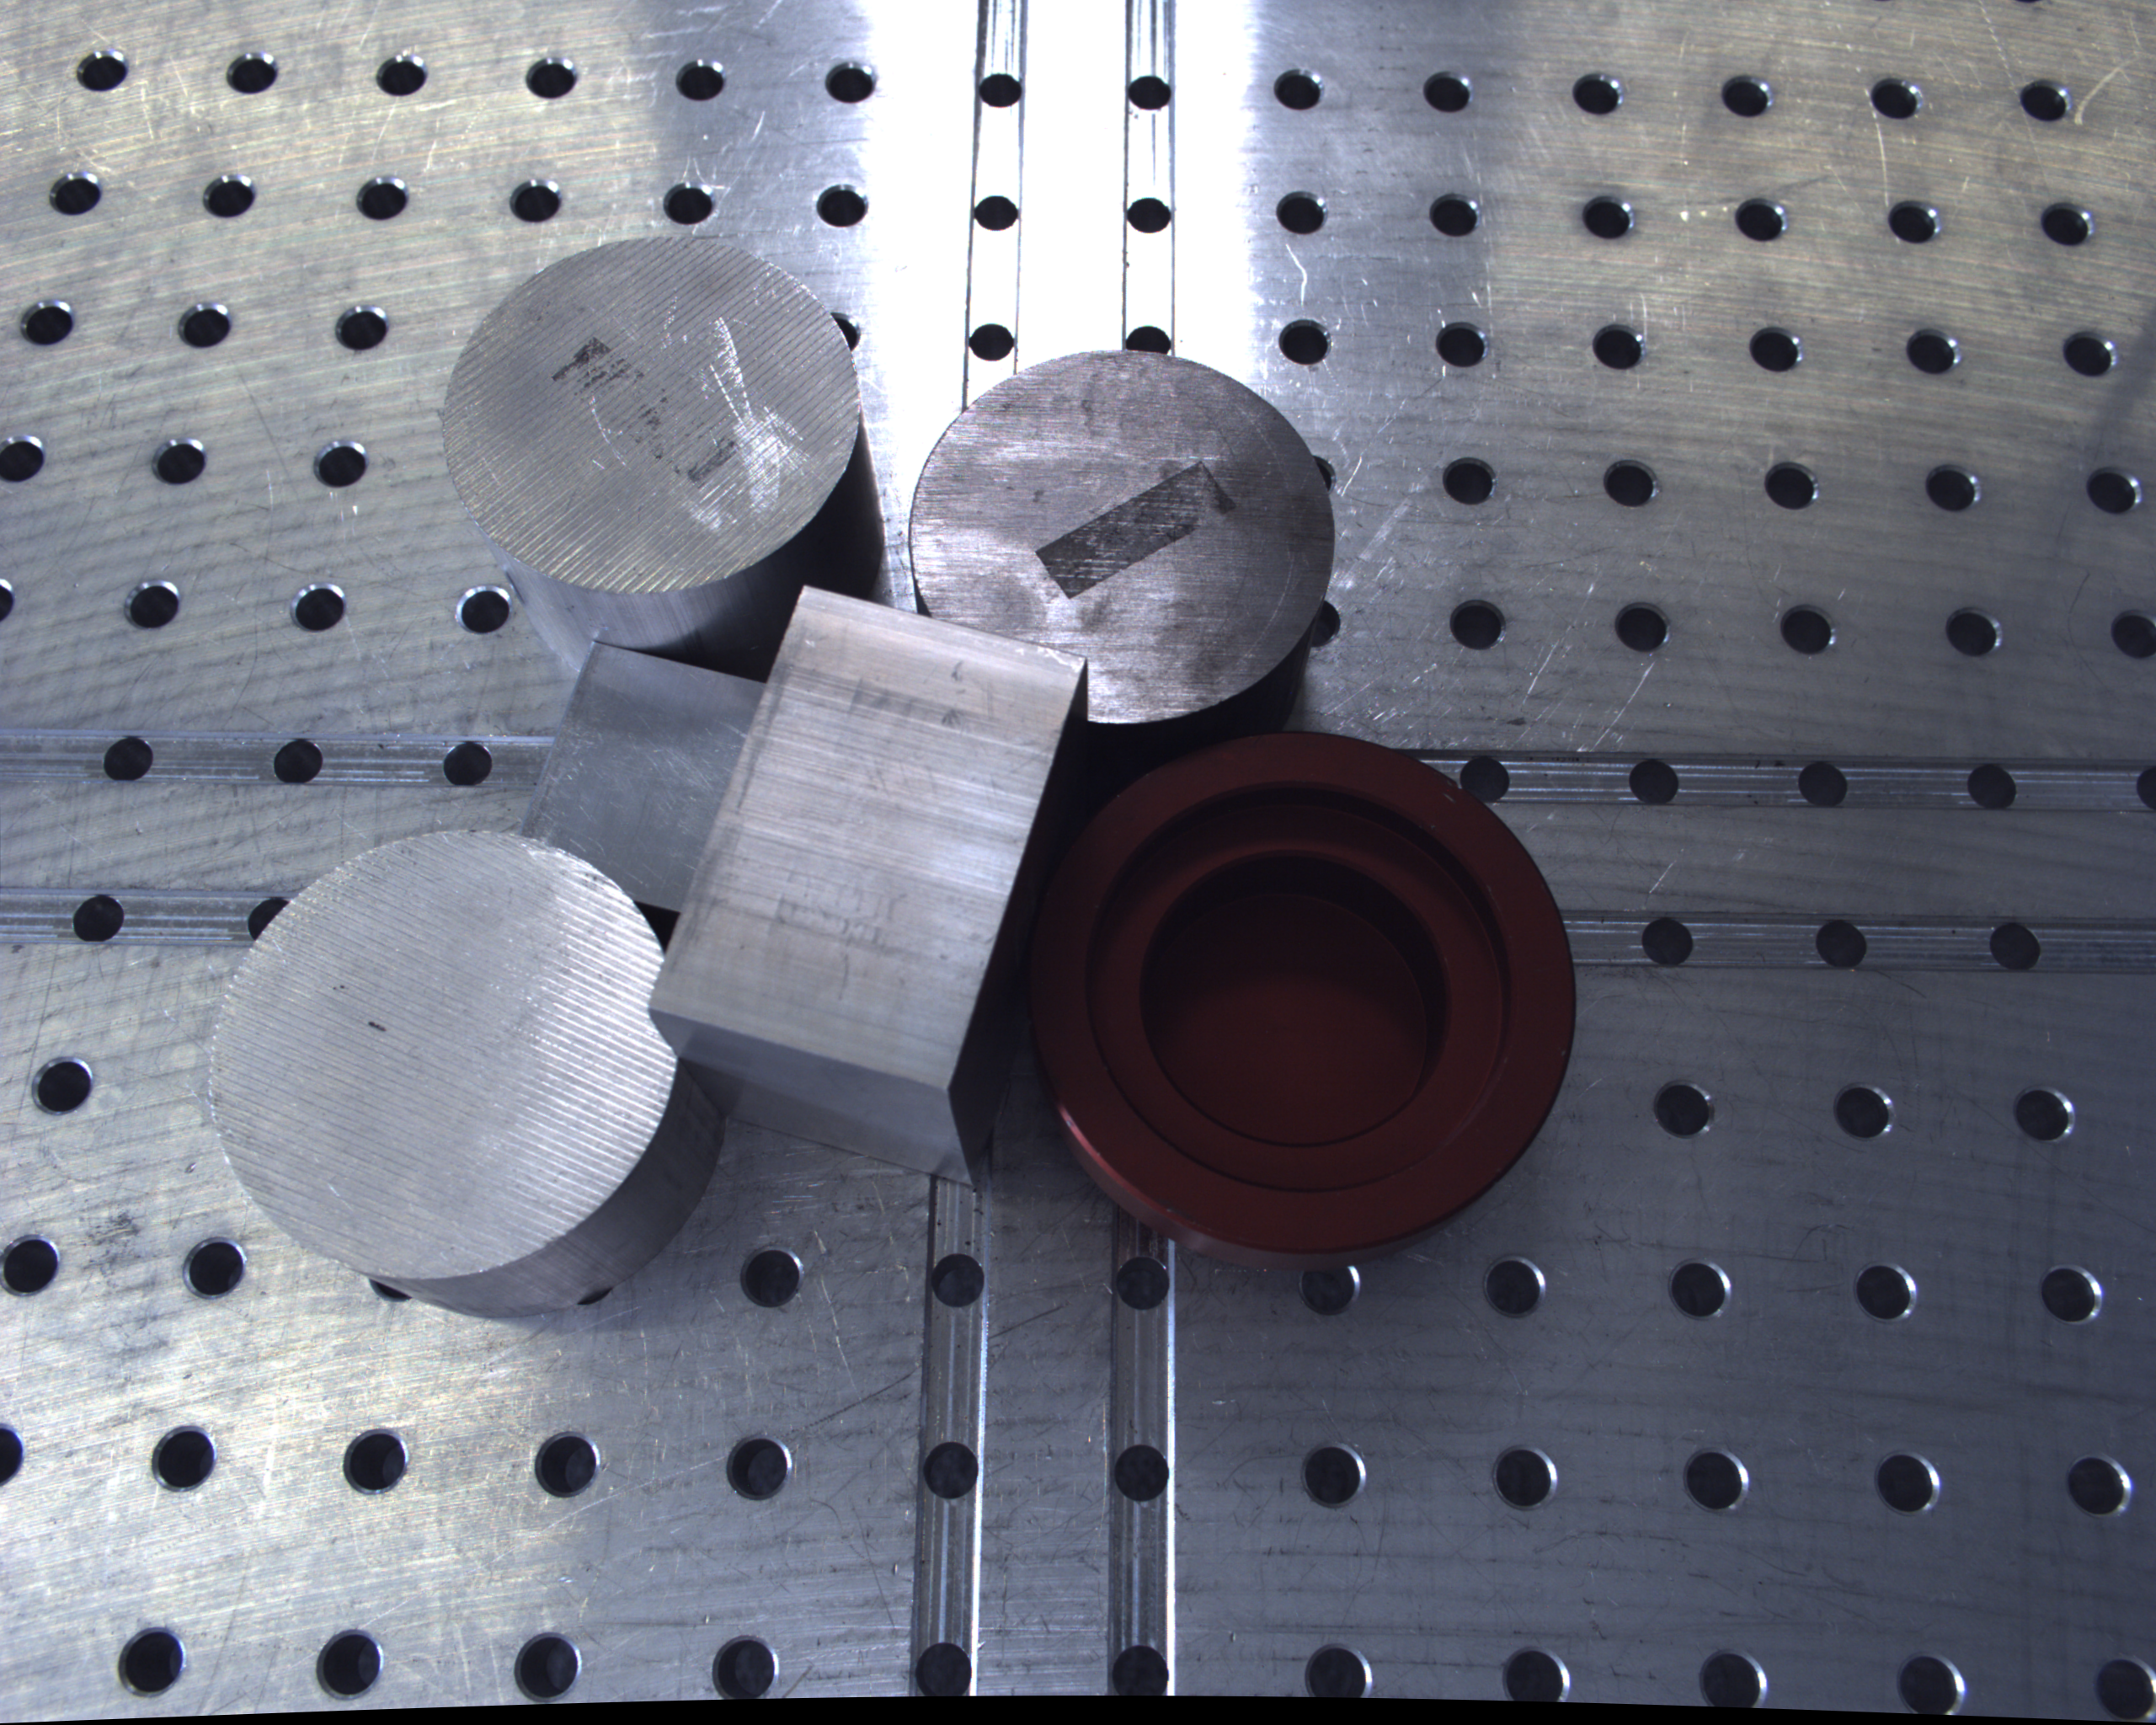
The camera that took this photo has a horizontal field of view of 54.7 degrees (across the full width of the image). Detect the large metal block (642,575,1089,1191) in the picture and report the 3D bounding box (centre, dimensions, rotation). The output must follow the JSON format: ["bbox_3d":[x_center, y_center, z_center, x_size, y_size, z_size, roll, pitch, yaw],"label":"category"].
[{"bbox_3d":[-0.033,0.007,0.376,0.050,0.080,0.080,15,71,5],"label":"large metal block"}]

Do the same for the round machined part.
[{"bbox_3d":[0.040,0.028,0.392,0.099,0.042,0.098,0,70,0],"label":"round machined part"}]

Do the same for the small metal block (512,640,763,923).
[{"bbox_3d":[-0.079,-0.011,0.415,0.050,0.025,0.050,14,71,5],"label":"small metal block"}]

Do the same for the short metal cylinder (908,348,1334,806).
[{"bbox_3d":[0.008,-0.055,0.418,0.081,0.050,0.080,0,70,0],"label":"short metal cylinder"}]

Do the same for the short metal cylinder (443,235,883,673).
[{"bbox_3d":[-0.082,-0.080,0.426,0.081,0.050,0.080,0,70,0],"label":"short metal cylinder"}]

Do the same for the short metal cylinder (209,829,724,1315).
[{"bbox_3d":[-0.109,0.040,0.383,0.081,0.050,0.080,0,70,0],"label":"short metal cylinder"}]
